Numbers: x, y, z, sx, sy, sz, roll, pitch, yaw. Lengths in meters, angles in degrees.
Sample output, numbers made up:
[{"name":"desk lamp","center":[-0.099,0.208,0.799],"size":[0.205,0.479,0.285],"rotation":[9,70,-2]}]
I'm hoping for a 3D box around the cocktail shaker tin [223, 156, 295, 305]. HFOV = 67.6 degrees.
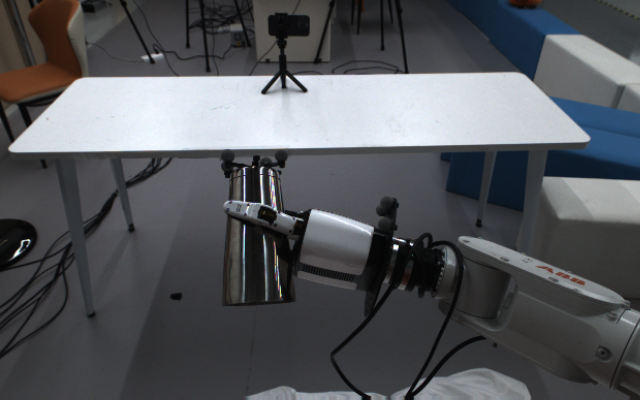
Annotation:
[{"name":"cocktail shaker tin","center":[-0.081,0.048,0.624],"size":[0.093,0.093,0.170],"rotation":[-3,76,-7]}]
